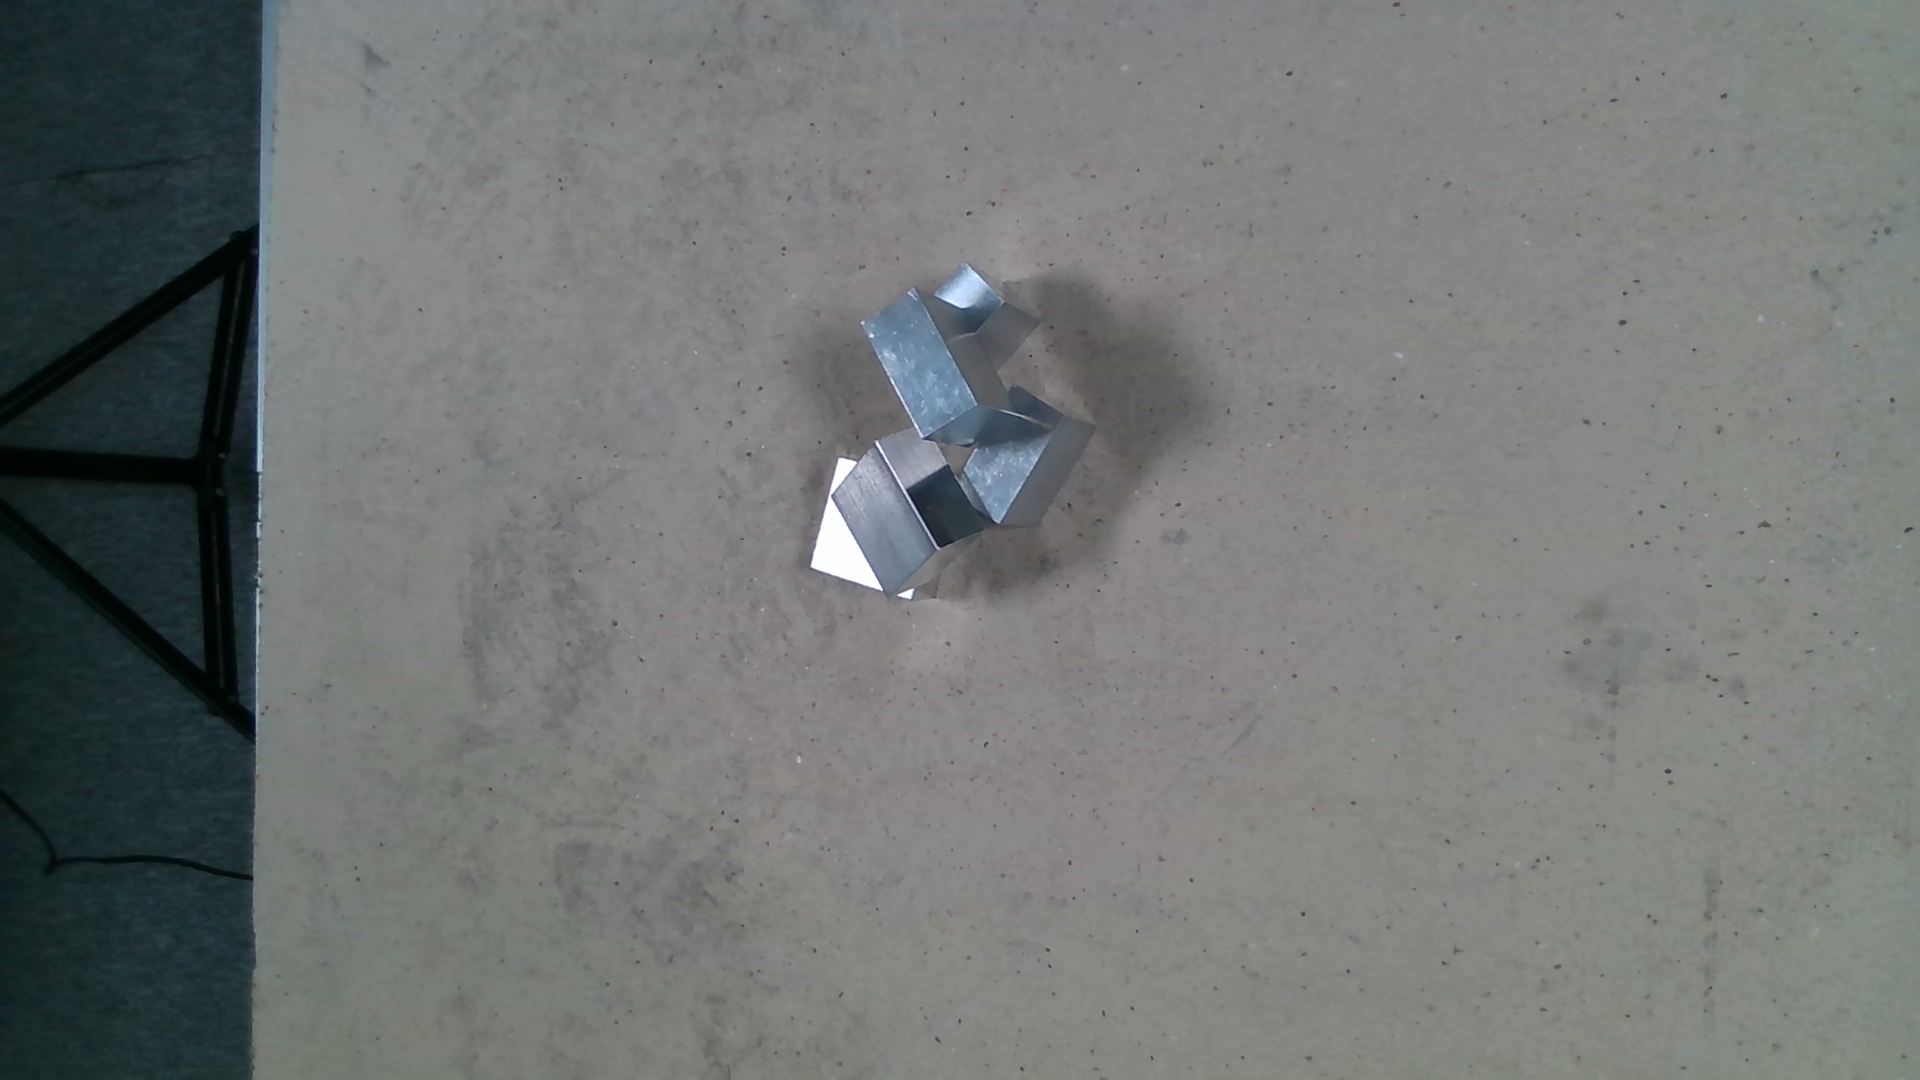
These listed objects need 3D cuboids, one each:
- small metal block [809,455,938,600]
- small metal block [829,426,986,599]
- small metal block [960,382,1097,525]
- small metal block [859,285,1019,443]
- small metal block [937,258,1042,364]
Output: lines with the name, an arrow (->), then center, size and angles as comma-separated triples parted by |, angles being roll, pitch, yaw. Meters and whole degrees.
small metal block -> -0.032, -0.006, 0.598 | 0.050, 0.025, 0.050 | 17, 96, 19
small metal block -> -0.022, -0.011, 0.554 | 0.050, 0.025, 0.050 | 60, 145, 10
small metal block -> 0.026, -0.034, 0.563 | 0.025, 0.050, 0.050 | 34, 101, 17
small metal block -> -0.007, -0.064, 0.521 | 0.025, 0.050, 0.050 | -31, 80, 18
small metal block -> 0.001, -0.085, 0.571 | 0.050, 0.050, 0.025 | -47, 76, 15
